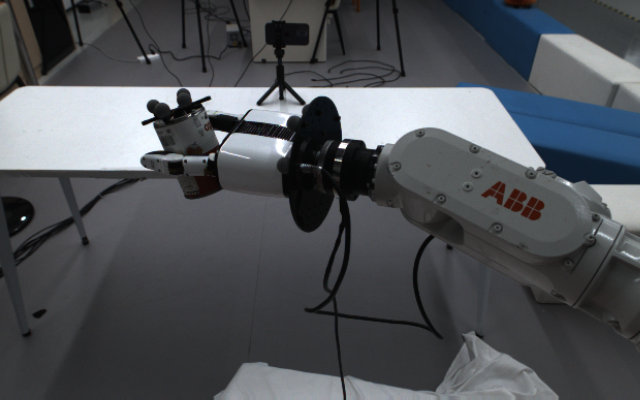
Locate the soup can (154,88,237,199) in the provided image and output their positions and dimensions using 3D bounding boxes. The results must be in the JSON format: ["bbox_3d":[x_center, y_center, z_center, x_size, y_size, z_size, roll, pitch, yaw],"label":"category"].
[{"bbox_3d":[-0.159,-0.059,0.616,0.067,0.101,0.067,-16,23,7],"label":"soup can"}]
